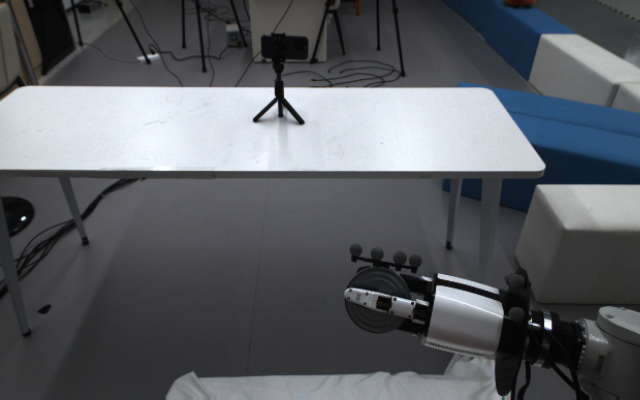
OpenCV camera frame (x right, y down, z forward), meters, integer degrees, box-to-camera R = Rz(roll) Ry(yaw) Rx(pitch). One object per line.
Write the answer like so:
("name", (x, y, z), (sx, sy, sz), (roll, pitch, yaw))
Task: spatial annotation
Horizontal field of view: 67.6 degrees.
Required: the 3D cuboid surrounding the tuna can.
("tuna can", (0.079, 0.127, 0.638), (0.085, 0.085, 0.034), (11, -7, 12))
